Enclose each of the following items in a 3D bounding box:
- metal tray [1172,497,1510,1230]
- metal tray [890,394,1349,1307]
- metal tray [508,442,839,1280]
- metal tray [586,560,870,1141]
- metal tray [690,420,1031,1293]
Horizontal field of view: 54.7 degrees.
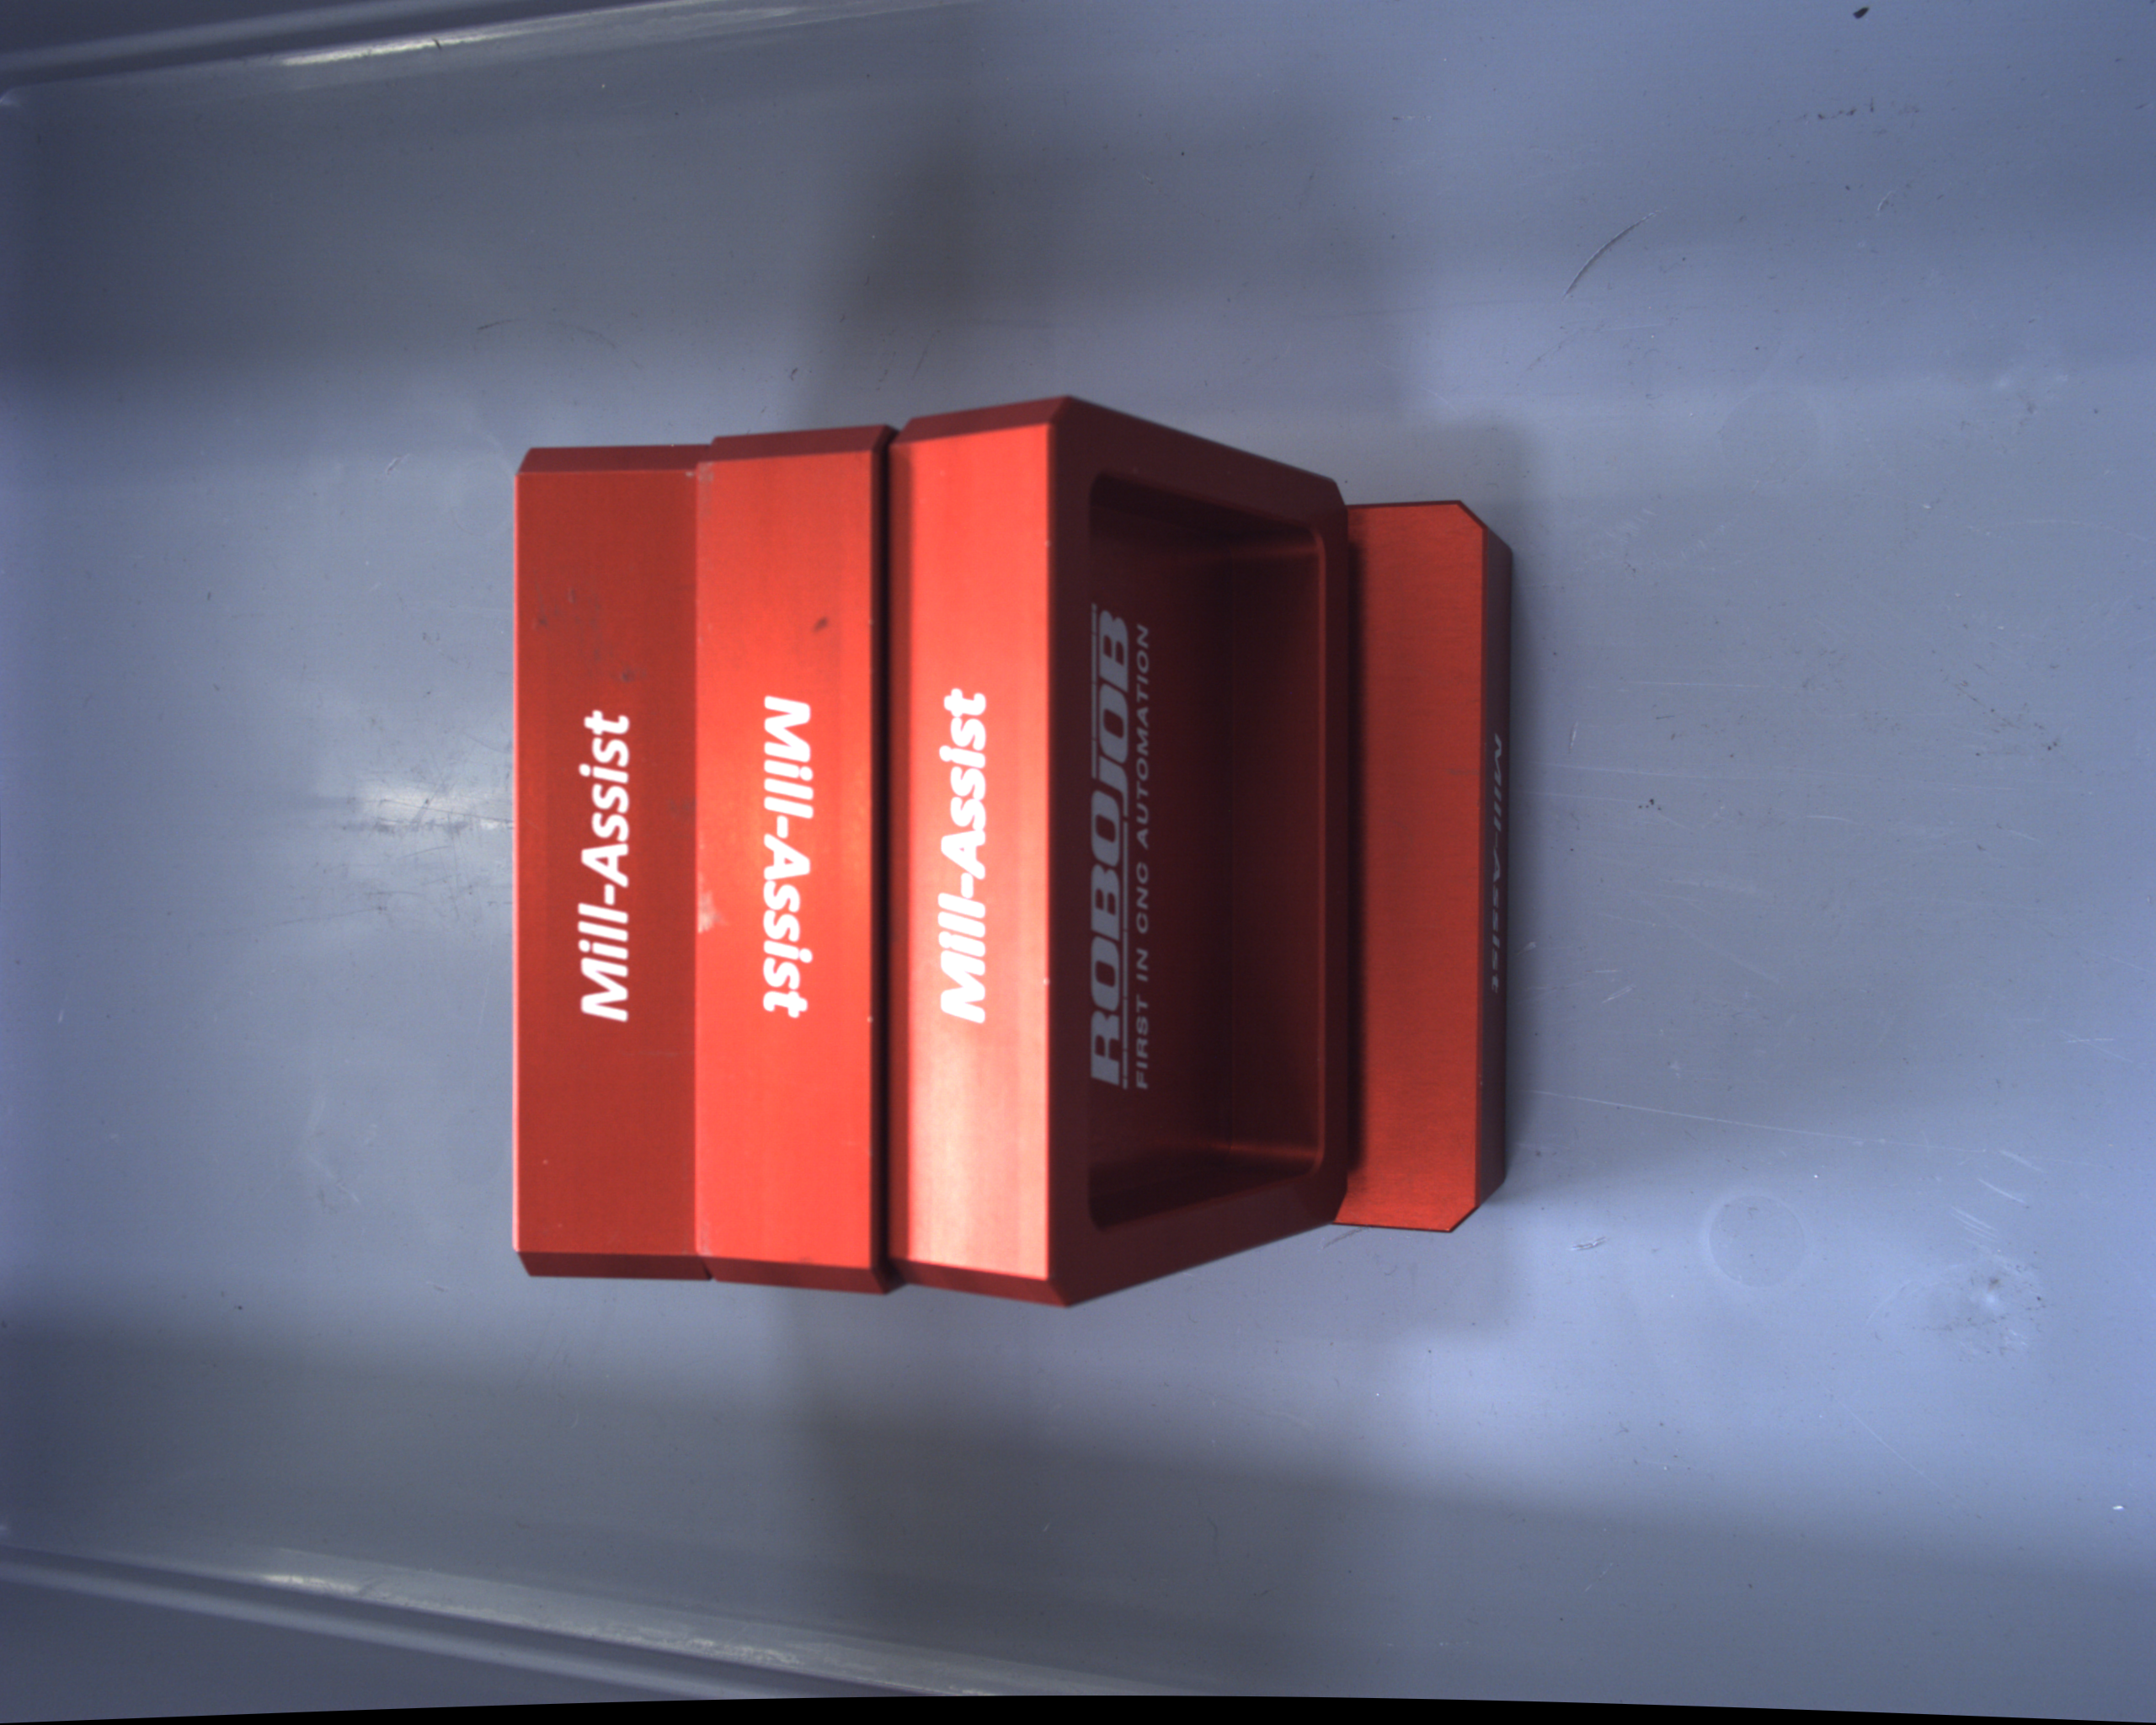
[{"bbox_3d":[0.033,0.000,0.394,0.090,0.030,0.129,1,90,20],"label":"metal tray"},{"bbox_3d":[0.010,-0.002,0.336,0.030,0.091,0.129,0,90,34],"label":"metal tray"},{"bbox_3d":[-0.067,0.000,0.363,0.030,0.090,0.129,0,90,7],"label":"metal tray"},{"bbox_3d":[-0.053,-0.002,0.424,0.090,0.030,0.129,1,90,20],"label":"metal tray"},{"bbox_3d":[-0.028,0.000,0.351,0.030,0.090,0.129,0,88,20],"label":"metal tray"}]
